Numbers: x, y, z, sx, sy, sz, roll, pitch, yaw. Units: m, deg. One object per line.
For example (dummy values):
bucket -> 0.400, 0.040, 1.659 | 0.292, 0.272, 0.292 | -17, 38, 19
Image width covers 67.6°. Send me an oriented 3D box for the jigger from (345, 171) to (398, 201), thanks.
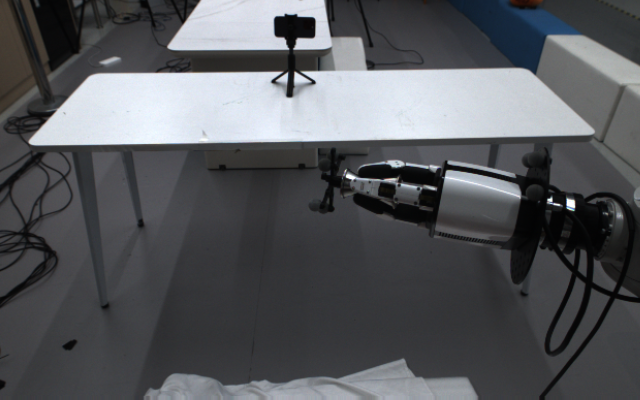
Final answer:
jigger -> 0.070, -0.019, 0.602 | 0.071, 0.043, 0.043 | 10, 35, 16
